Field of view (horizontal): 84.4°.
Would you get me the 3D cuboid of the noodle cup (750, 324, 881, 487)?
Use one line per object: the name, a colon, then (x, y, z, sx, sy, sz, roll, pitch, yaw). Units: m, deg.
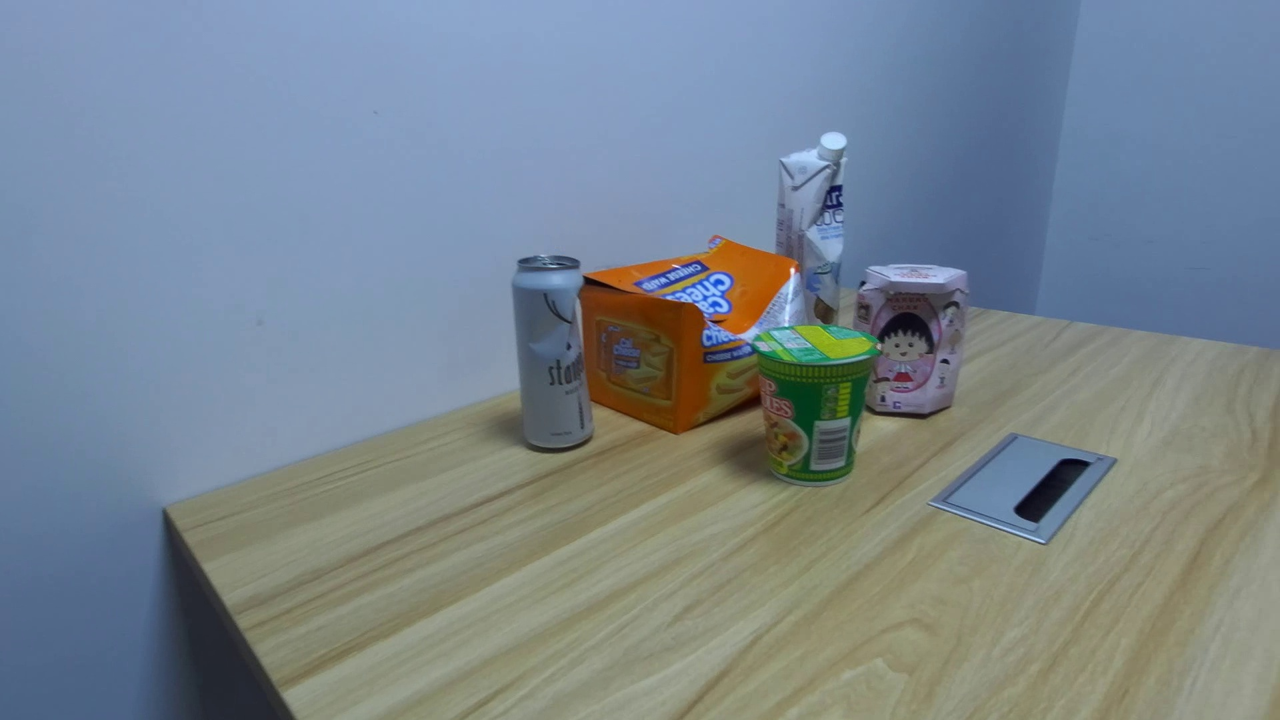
noodle cup: (0.137, 0.037, 0.562, 0.097, 0.110, 0.097, -3, 19, 1)

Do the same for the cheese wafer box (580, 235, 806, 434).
cheese wafer box: (0.072, -0.037, 0.740, 0.220, 0.145, 0.190, -19, 24, -39)

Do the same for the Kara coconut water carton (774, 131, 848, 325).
Kara coconut water carton: (0.203, -0.138, 0.847, 0.083, 0.255, 0.078, -18, 26, -38)

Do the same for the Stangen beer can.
Stangen beer can: (-0.075, -0.008, 0.636, 0.070, 0.173, 0.069, -18, 24, -41)

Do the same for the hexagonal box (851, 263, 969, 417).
hexagonal box: (0.258, -0.021, 0.688, 0.090, 0.134, 0.090, -12, 21, -31)
